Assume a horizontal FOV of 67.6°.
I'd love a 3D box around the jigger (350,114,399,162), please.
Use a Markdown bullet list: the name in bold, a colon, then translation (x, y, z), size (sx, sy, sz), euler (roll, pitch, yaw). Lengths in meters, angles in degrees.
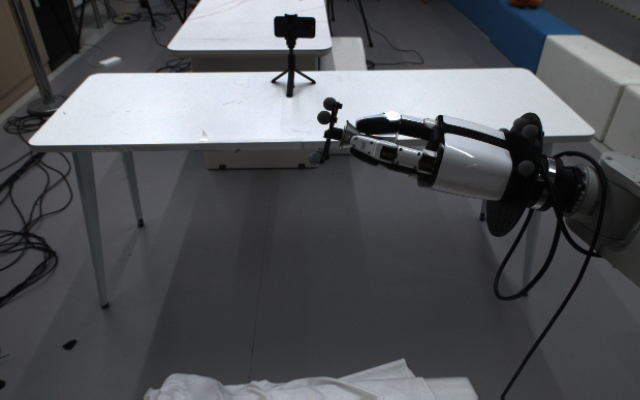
- **jigger**: translation (0.065, -0.079, 0.622), size (0.071, 0.043, 0.043), euler (14, 36, 4)
